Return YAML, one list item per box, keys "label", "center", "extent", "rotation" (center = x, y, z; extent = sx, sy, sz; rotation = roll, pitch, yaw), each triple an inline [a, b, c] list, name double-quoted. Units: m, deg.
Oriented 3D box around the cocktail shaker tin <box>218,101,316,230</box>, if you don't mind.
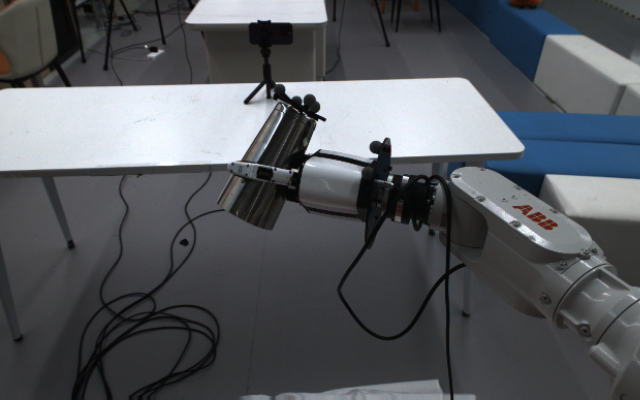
- label: "cocktail shaker tin"
  center: [-0.072, -0.056, 0.711]
  extent: [0.093, 0.170, 0.093]
  rotation: [27, 2, -1]
